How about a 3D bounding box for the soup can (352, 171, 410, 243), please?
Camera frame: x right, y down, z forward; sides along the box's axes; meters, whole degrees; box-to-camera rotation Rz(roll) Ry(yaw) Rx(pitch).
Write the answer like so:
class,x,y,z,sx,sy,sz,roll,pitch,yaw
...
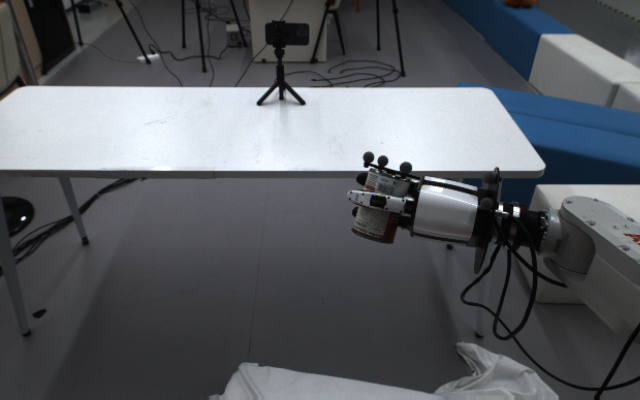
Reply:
class,x,y,z,sx,sy,sz,roll,pitch,yaw
soup can,0.095,0.008,0.744,0.067,0.101,0.067,15,7,-2
